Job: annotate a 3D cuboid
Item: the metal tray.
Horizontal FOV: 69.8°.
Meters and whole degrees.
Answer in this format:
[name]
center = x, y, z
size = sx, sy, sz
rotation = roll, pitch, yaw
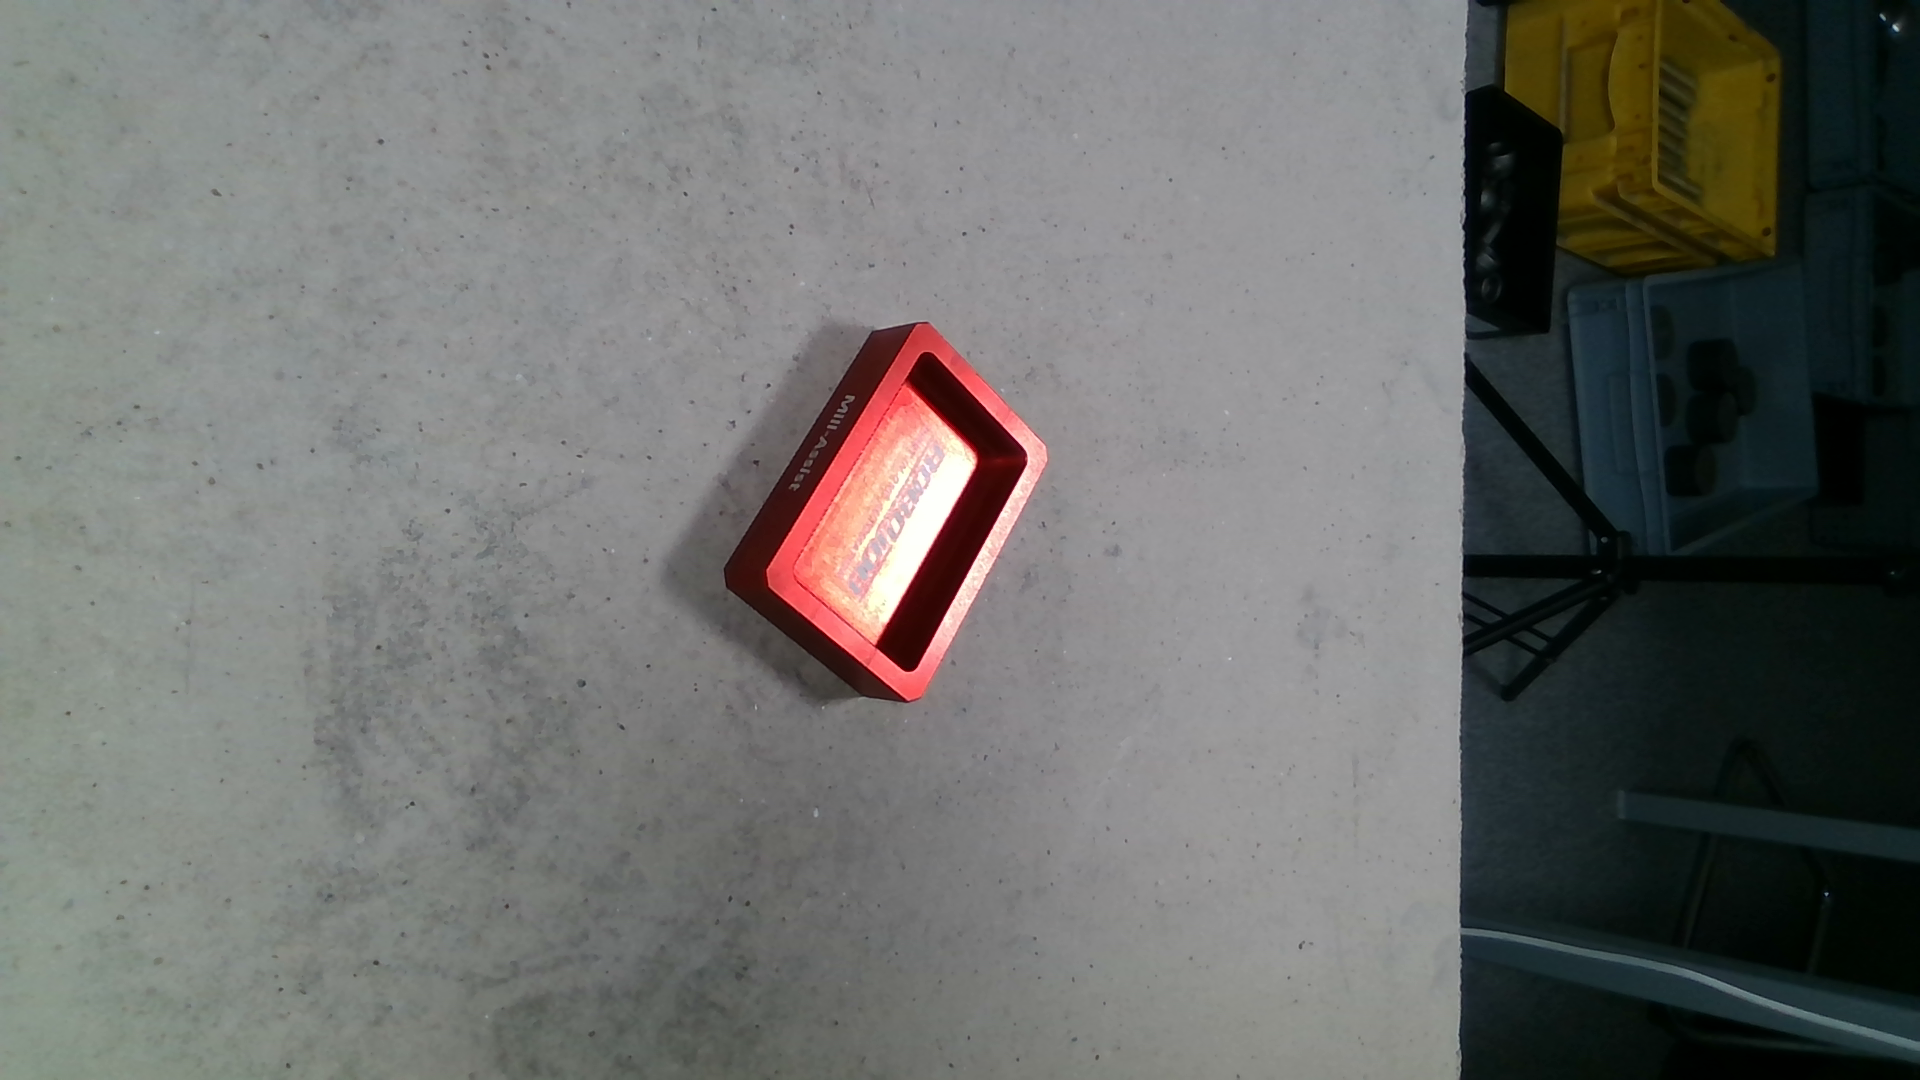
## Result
[metal tray]
center = -0.026, -0.012, 0.558
size = 0.090, 0.030, 0.130
rotation = 43, 64, -32
